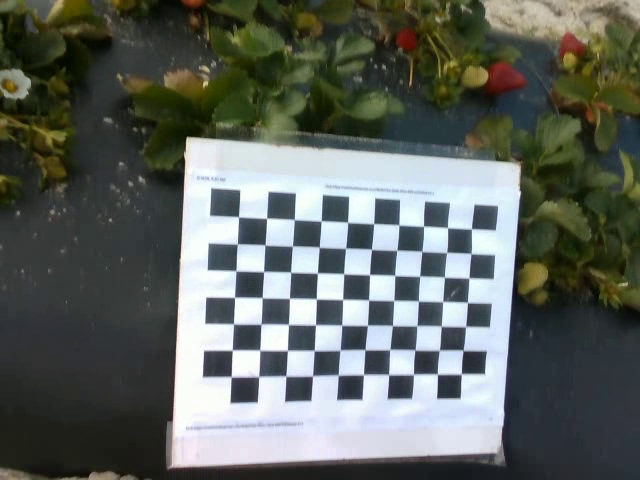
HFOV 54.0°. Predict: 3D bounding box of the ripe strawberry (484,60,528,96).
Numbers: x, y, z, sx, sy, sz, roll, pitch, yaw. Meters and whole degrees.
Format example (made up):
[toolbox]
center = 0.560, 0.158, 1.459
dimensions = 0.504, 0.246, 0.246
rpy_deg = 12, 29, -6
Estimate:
[ripe strawberry]
center = 0.251, -0.217, 0.833
dimensions = 0.055, 0.051, 0.048
rpy_deg = 29, -9, 44
